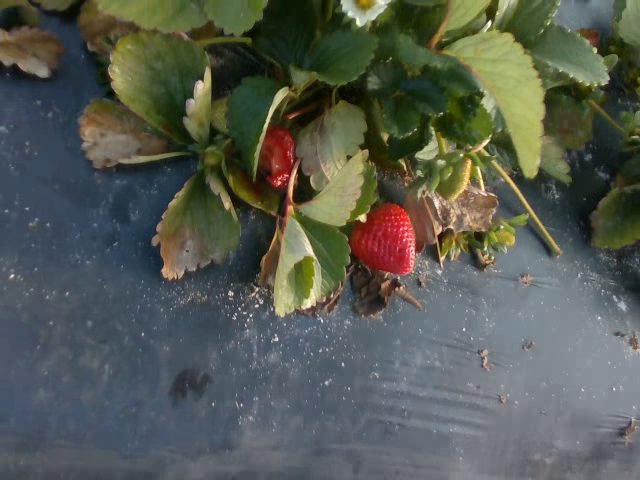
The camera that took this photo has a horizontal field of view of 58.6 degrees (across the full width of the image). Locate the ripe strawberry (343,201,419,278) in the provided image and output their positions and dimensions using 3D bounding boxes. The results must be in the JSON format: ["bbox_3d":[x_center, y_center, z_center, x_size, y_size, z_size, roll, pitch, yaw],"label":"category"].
[{"bbox_3d":[0.027,0.002,0.230,0.031,0.030,0.026,-27,-13,-13],"label":"ripe strawberry"}]
